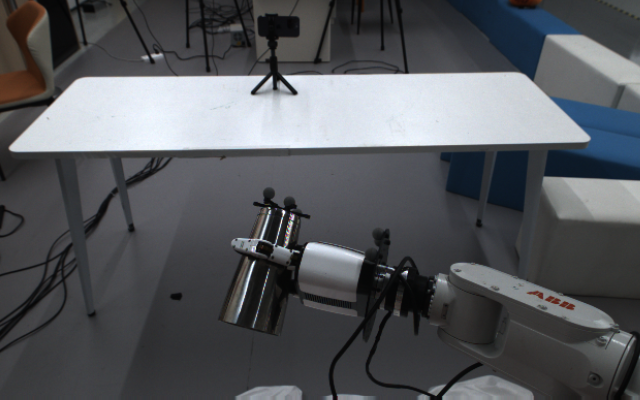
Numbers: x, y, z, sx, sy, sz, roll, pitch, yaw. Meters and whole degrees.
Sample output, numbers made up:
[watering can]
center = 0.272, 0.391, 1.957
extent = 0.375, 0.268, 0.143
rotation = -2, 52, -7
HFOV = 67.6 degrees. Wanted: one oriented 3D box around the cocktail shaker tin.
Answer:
[cocktail shaker tin]
center = -0.079, 0.101, 0.701
extent = 0.093, 0.093, 0.170
rotation = 10, 71, 12
